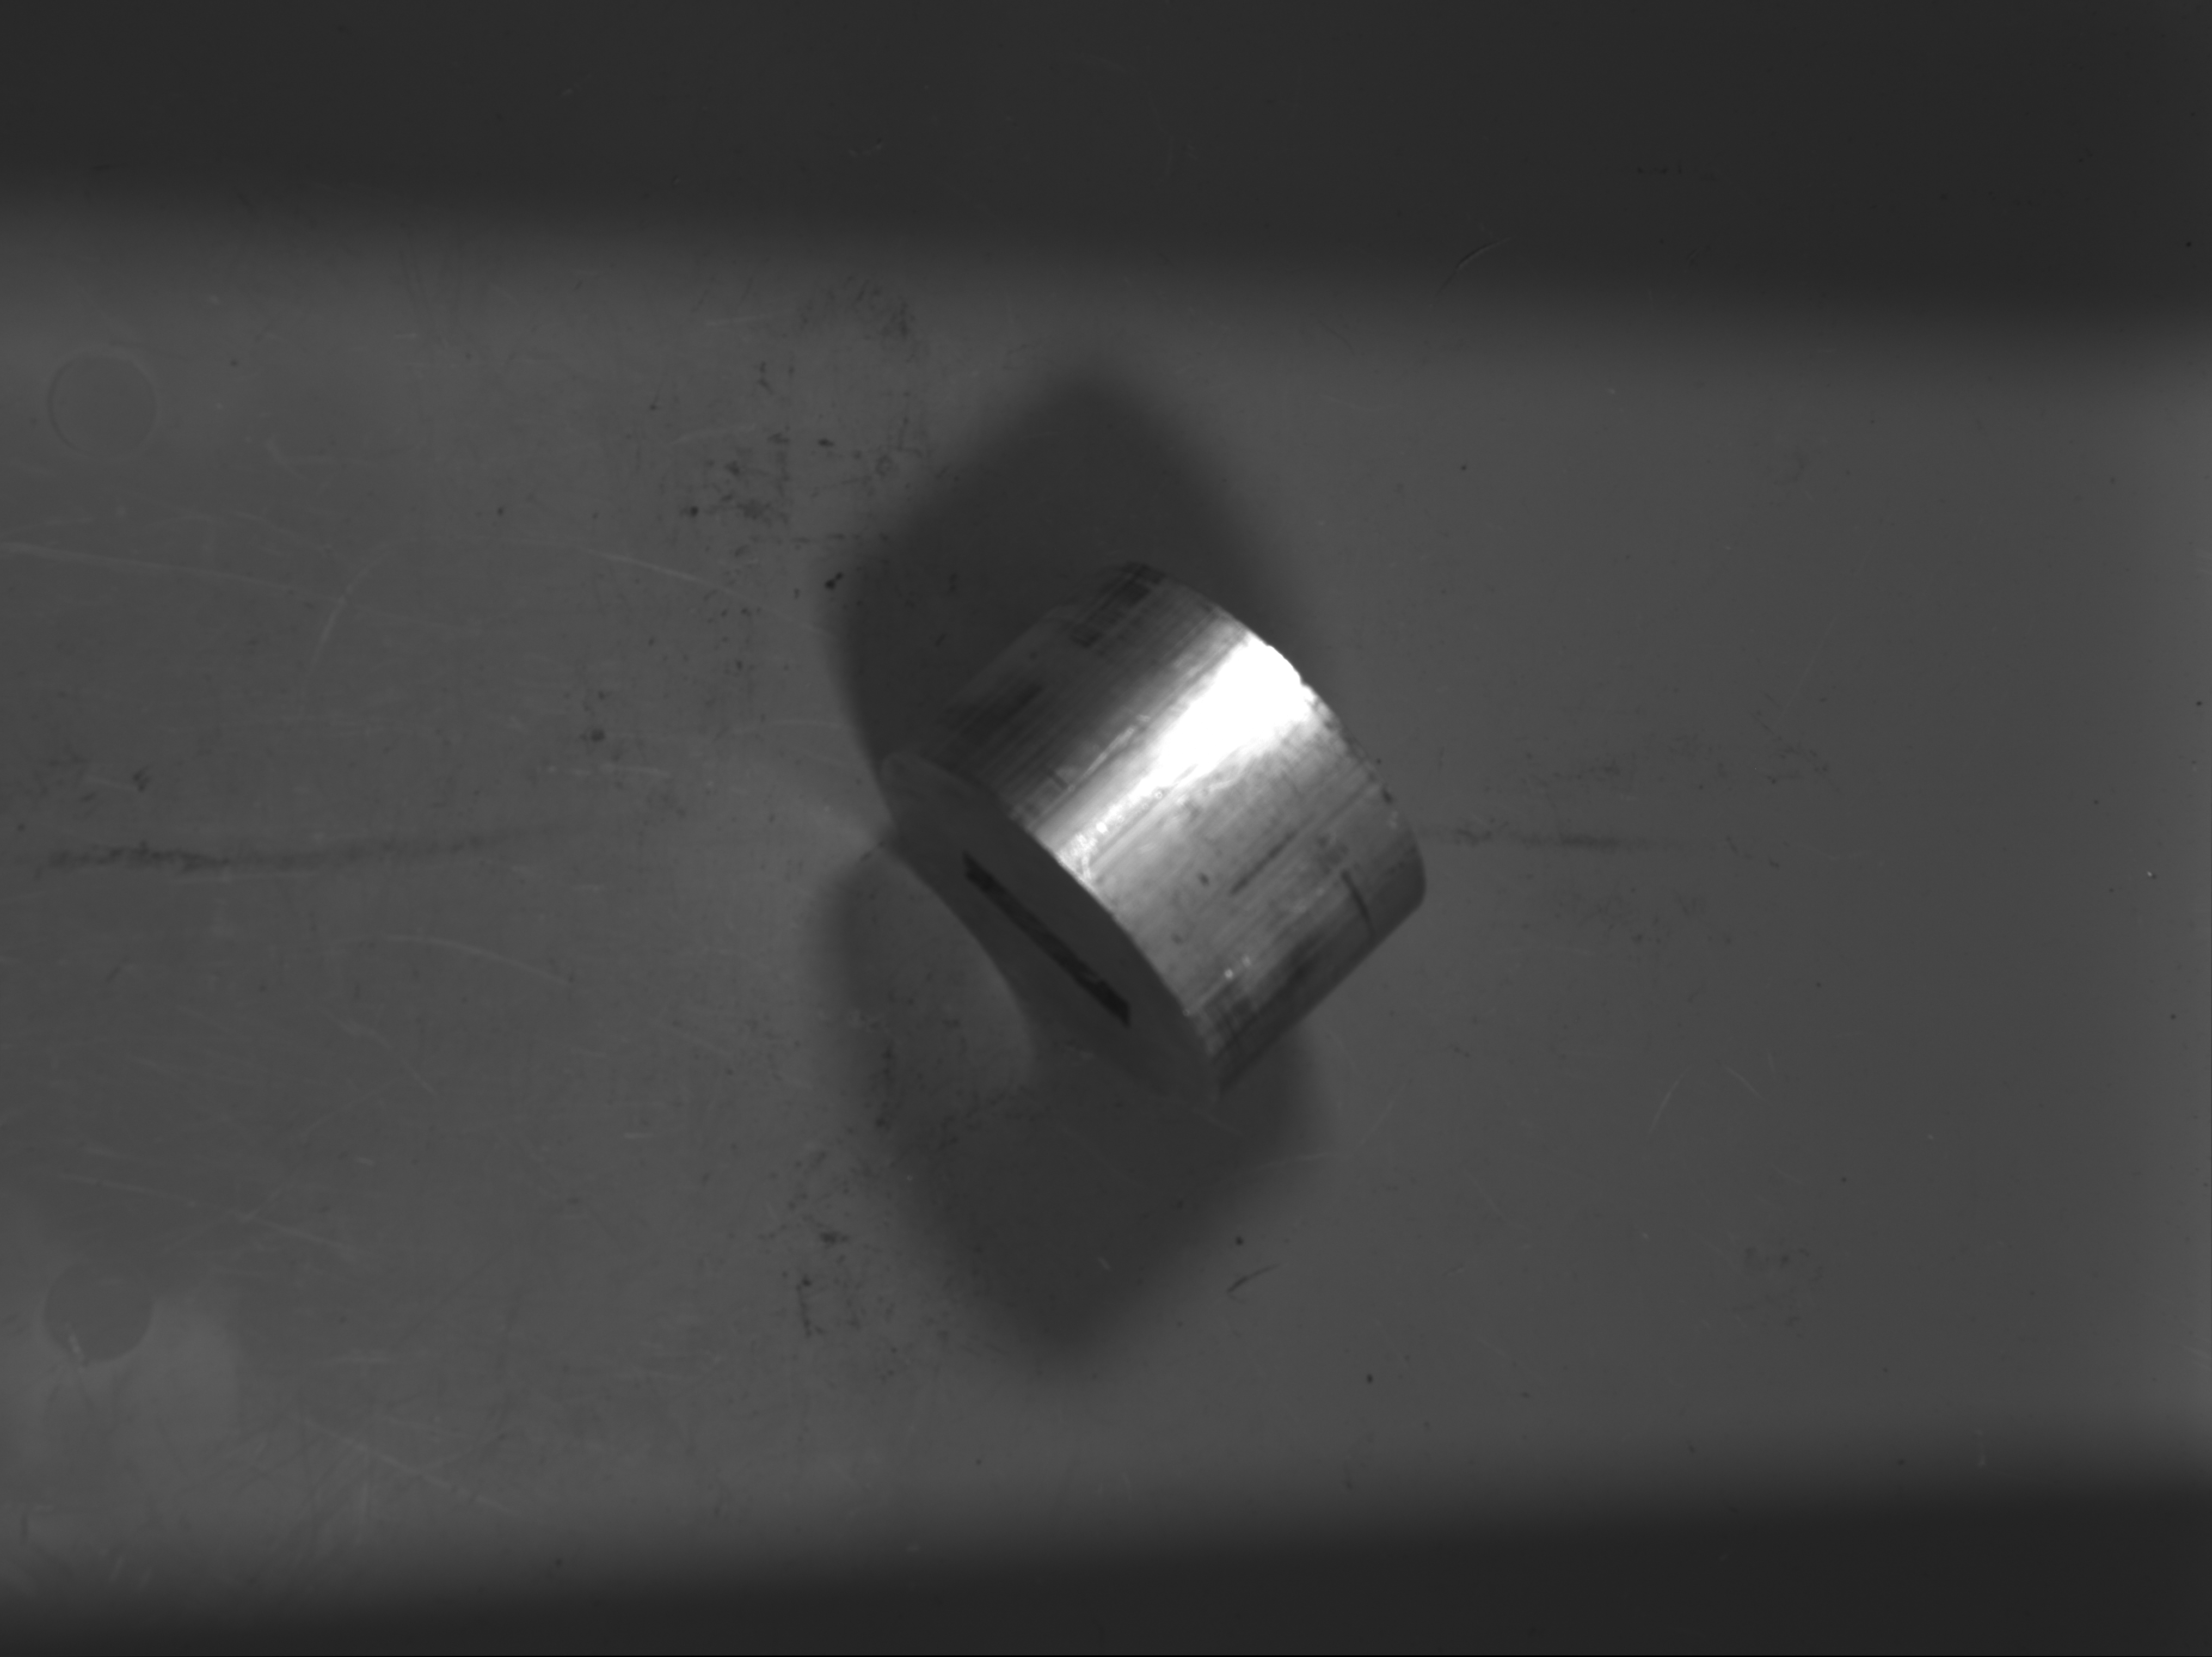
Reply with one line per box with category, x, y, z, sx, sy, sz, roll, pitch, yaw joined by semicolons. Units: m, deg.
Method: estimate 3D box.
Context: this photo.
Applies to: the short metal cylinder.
short metal cylinder;0.015;0.002;0.617;0.050;0.080;0.080;-43;103;-15
